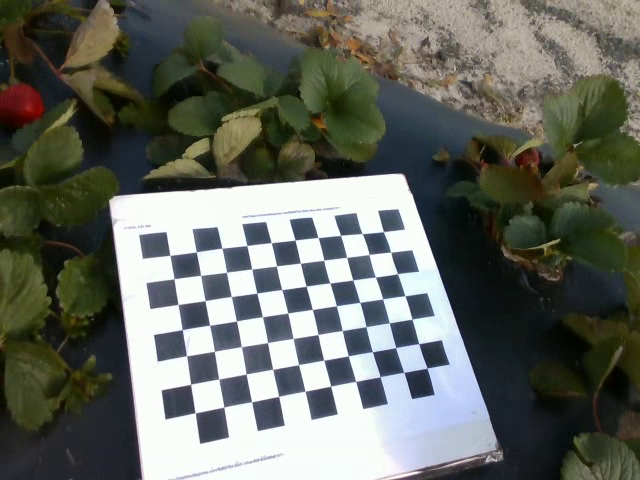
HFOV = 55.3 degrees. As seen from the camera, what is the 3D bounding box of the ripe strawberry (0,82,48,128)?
[{"bbox_3d":[-0.327,-0.148,0.655,0.058,0.051,0.064,-26,39,-29],"label":"ripe strawberry"}]
